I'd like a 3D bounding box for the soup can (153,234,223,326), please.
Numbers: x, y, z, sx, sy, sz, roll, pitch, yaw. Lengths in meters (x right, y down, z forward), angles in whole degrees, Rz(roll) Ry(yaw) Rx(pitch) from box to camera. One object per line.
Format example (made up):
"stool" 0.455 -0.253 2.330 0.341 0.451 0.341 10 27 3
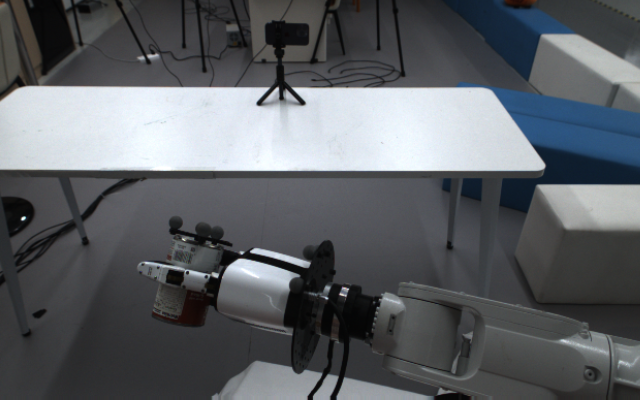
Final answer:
"soup can" -0.164 0.102 0.609 0.067 0.101 0.067 13 -6 1
